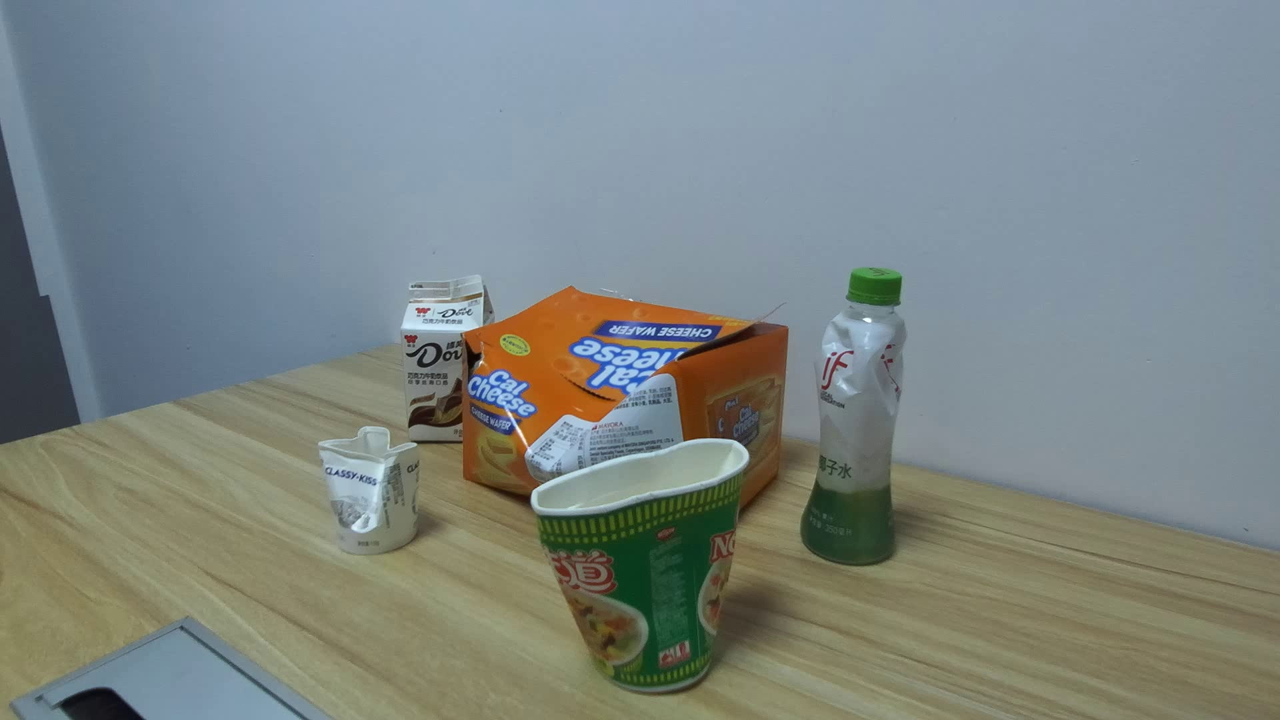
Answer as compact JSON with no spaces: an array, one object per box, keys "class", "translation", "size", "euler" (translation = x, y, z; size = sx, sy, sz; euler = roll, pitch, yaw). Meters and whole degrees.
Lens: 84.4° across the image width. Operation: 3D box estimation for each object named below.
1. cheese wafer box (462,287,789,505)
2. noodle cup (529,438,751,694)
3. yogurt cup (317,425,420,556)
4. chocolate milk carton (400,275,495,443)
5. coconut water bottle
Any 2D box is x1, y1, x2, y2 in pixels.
[{"class":"cheese wafer box","translation":[-0.019,0.031,0.551],"size":[0.218,0.145,0.192],"euler":[10,19,29]},{"class":"noodle cup","translation":[0.004,0.103,0.362],"size":[0.115,0.111,0.070],"euler":[-4,19,-11]},{"class":"yogurt cup","translation":[-0.181,0.088,0.485],"size":[0.054,0.072,0.055],"euler":[14,20,39]},{"class":"chocolate milk carton","translation":[-0.175,-0.004,0.661],"size":[0.075,0.148,0.074],"euler":[0,14,0]},{"class":"coconut water bottle","translation":[0.143,0.036,0.457],"size":[0.067,0.187,0.067],"euler":[1,16,0]}]
